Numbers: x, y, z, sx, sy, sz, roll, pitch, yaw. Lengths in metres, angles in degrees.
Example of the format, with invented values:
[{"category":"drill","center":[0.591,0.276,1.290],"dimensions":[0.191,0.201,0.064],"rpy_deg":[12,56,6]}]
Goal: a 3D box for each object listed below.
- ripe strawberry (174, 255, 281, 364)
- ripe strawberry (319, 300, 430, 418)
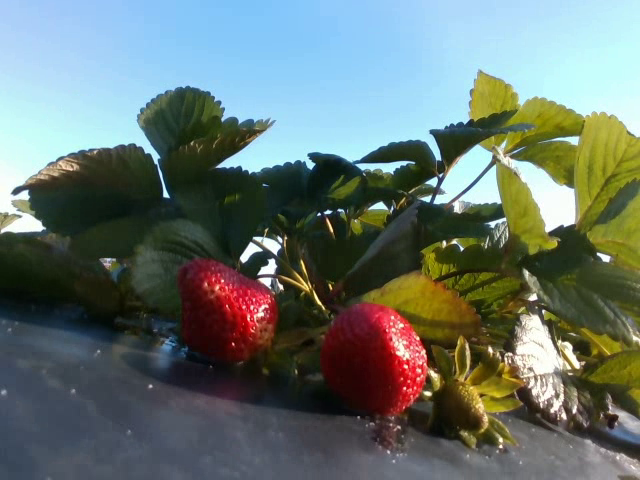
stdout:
[{"category":"ripe strawberry","center":[-0.038,0.028,0.248],"dimensions":[0.039,0.054,0.048],"rpy_deg":[-37,24,11]},{"category":"ripe strawberry","center":[0.020,0.035,0.209],"dimensions":[0.043,0.039,0.053],"rpy_deg":[33,-20,8]}]
